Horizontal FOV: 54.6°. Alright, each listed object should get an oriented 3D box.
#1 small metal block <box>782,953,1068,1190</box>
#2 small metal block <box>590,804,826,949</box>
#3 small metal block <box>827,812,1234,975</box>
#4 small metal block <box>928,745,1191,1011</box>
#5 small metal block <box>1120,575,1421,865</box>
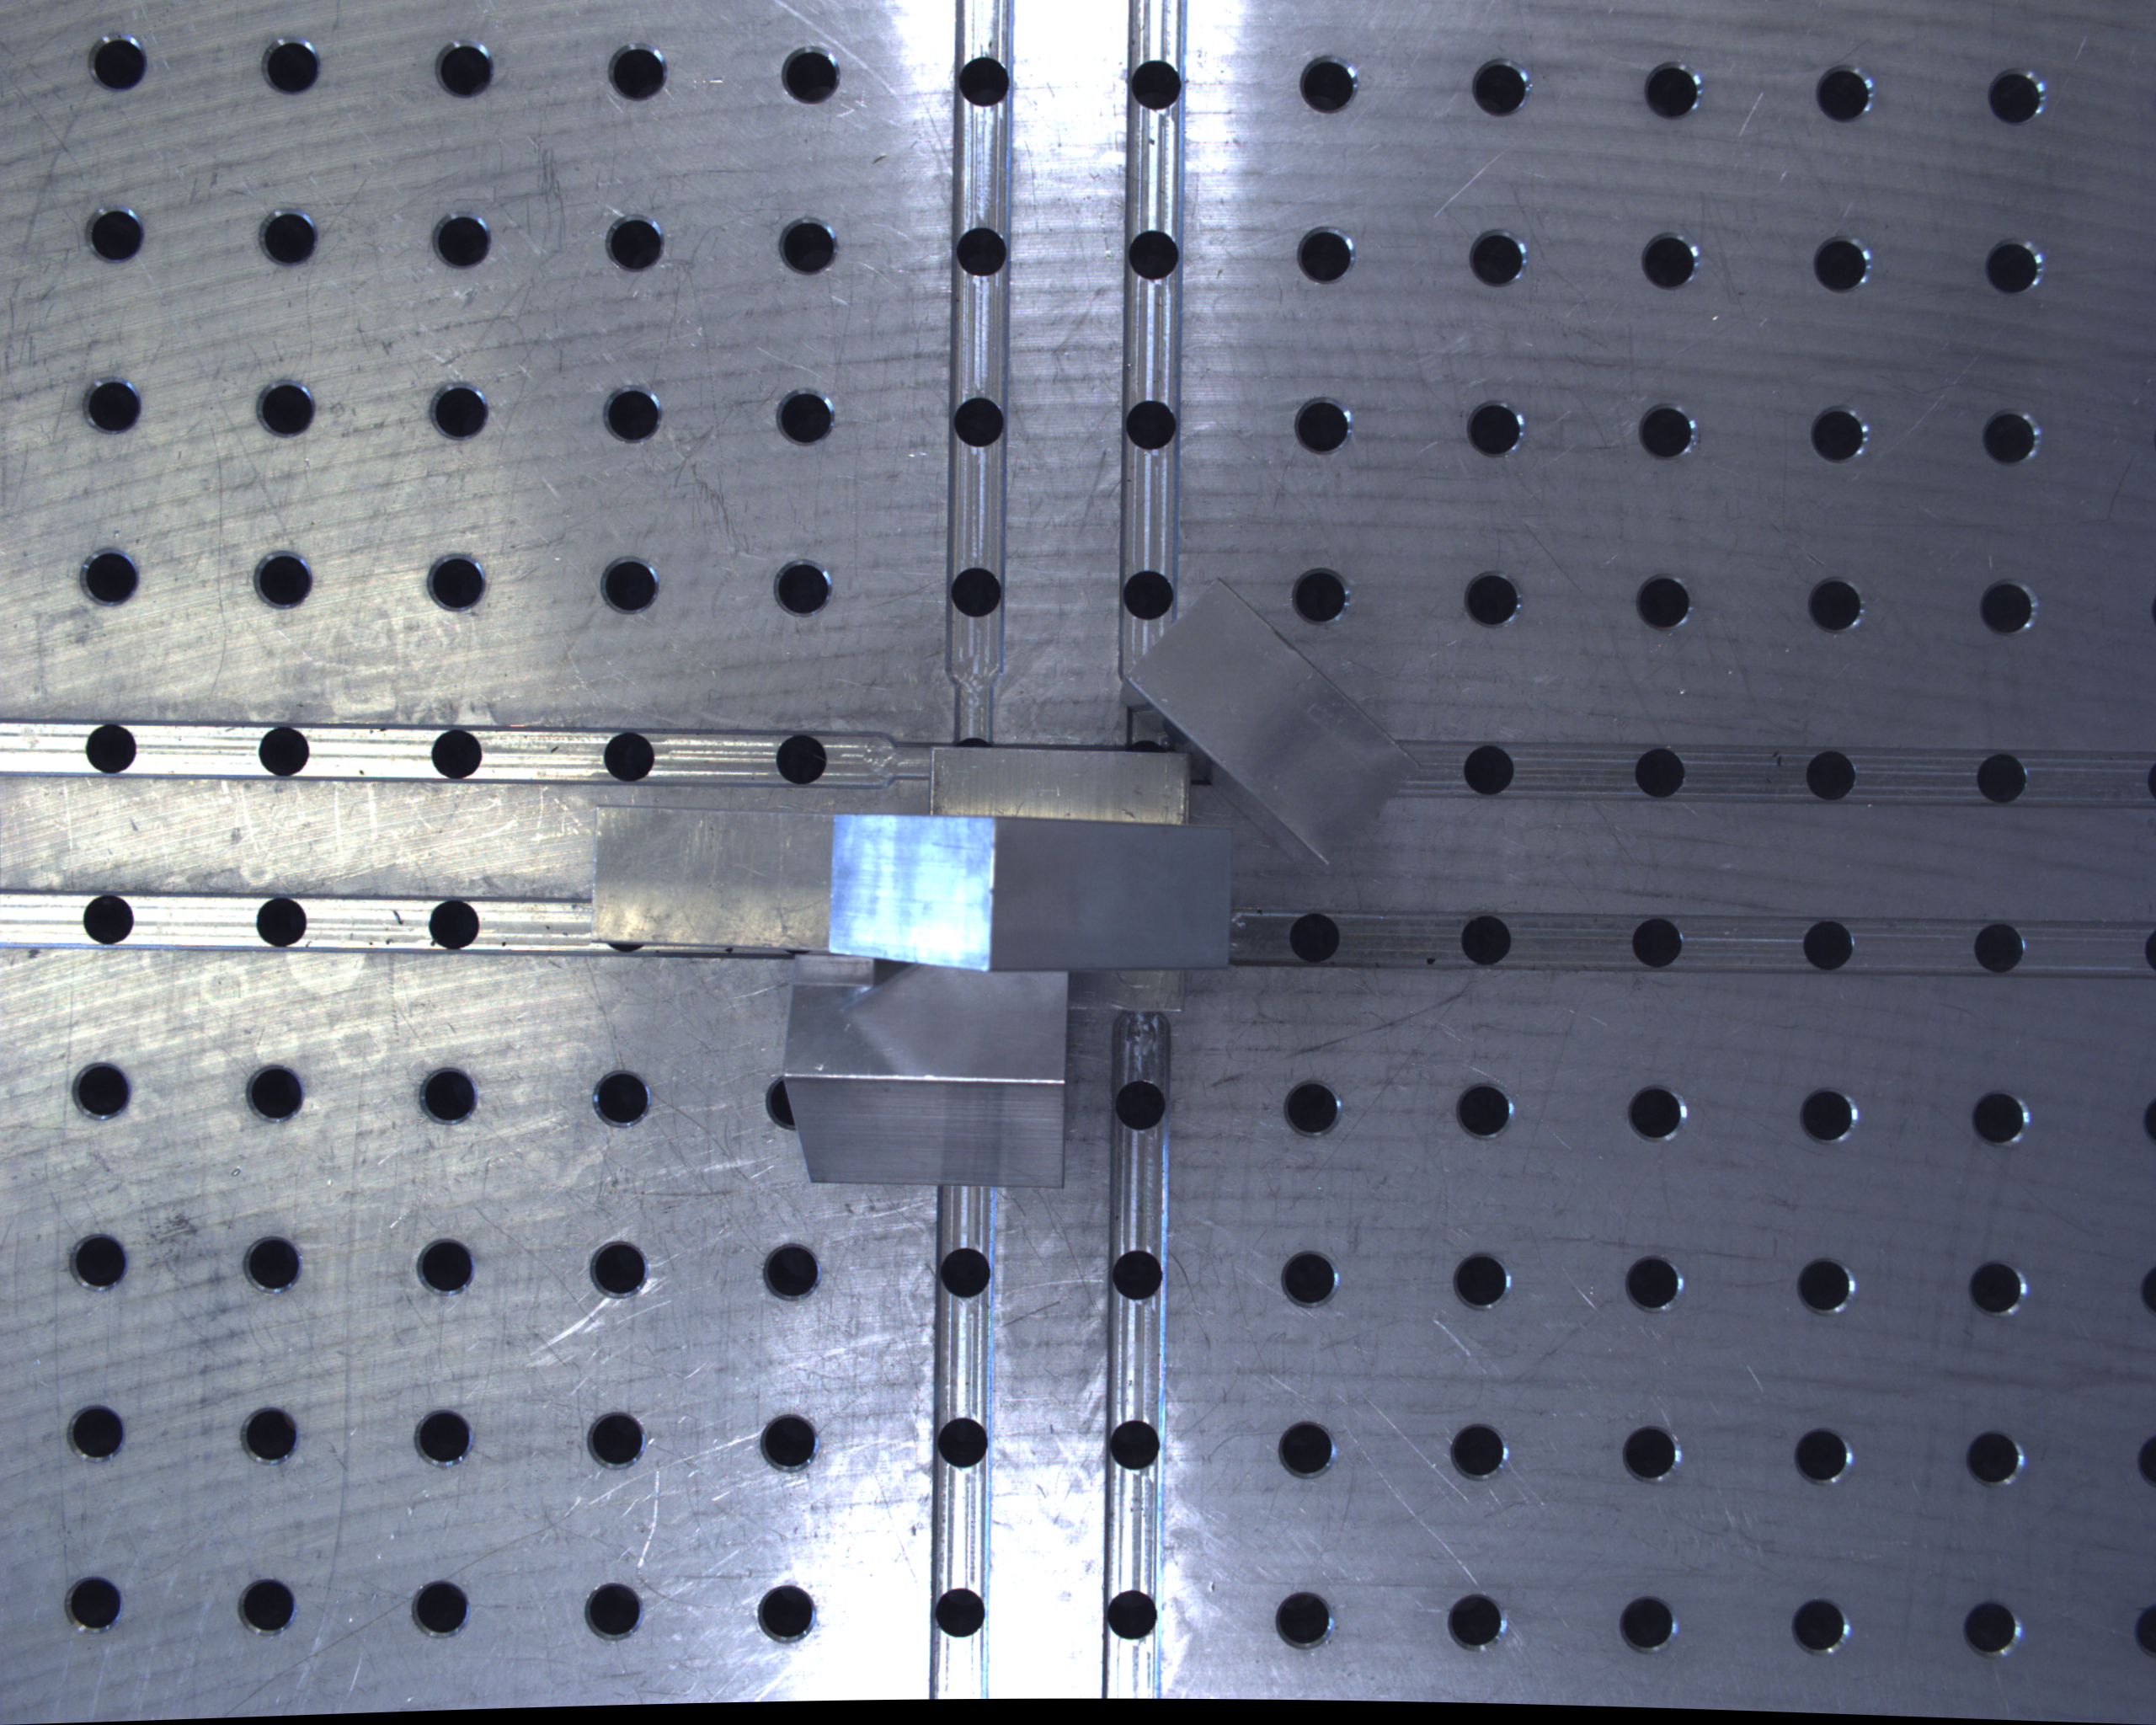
[{"bbox_3d":[-0.027,0.041,0.398,0.050,0.050,0.025,1,59,0],"label":"small metal block"},{"bbox_3d":[-0.062,0.002,0.400,0.050,0.050,0.025,2,91,1],"label":"small metal block"},{"bbox_3d":[-0.009,0.005,0.366,0.050,0.050,0.025,2,91,-37],"label":"small metal block"},{"bbox_3d":[-0.004,0.003,0.413,0.050,0.025,0.050,2,90,-1],"label":"small metal block"},{"bbox_3d":[0.035,-0.026,0.401,0.050,0.050,0.025,43,90,0],"label":"small metal block"}]
